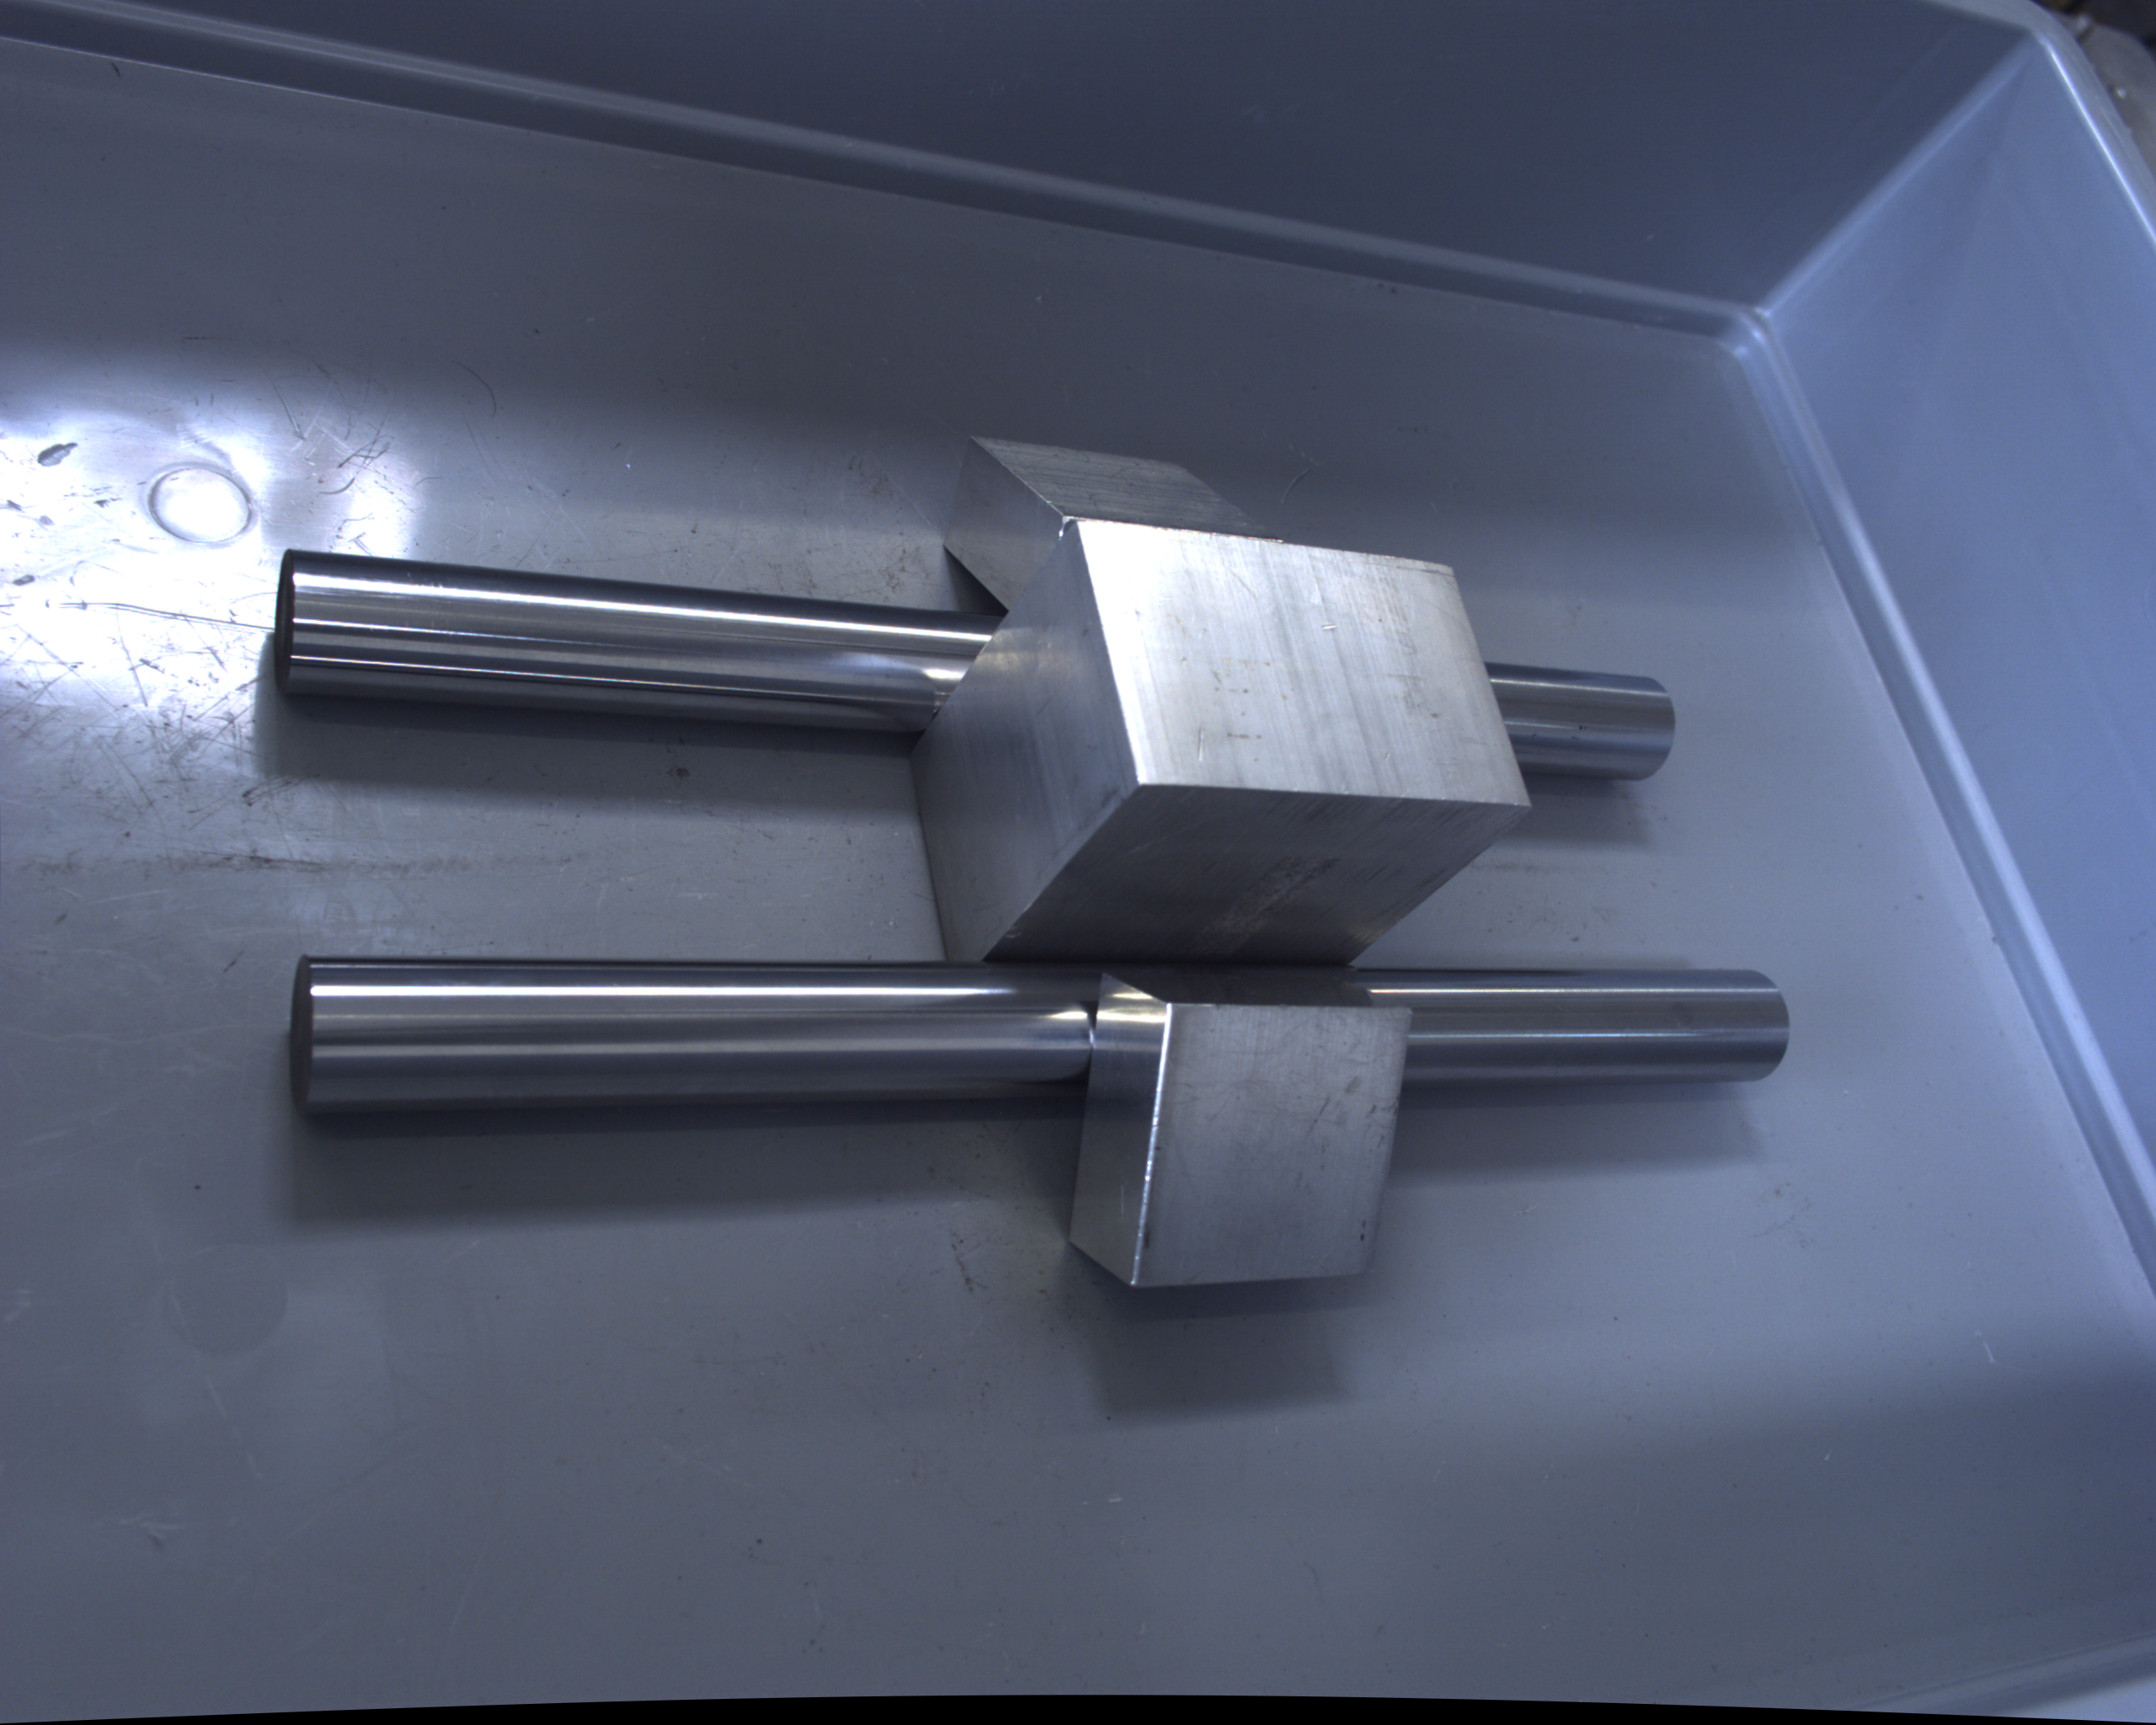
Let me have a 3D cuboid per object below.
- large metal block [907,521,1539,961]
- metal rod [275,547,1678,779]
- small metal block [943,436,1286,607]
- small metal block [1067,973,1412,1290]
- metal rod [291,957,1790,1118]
[{"bbox_3d":[0.024,-0.016,0.390,0.081,0.080,0.050,2,61,-28],"label":"large metal block"},{"bbox_3d":[-0.001,-0.036,0.424,0.303,0.025,0.025,2,61,-27],"label":"metal rod"},{"bbox_3d":[0.007,-0.066,0.433,0.050,0.025,0.050,1,27,-28],"label":"small metal block"},{"bbox_3d":[0.029,0.047,0.375,0.050,0.025,0.050,3,98,-27],"label":"small metal block"},{"bbox_3d":[0.014,0.032,0.392,0.303,0.025,0.025,2,61,-27],"label":"metal rod"}]
